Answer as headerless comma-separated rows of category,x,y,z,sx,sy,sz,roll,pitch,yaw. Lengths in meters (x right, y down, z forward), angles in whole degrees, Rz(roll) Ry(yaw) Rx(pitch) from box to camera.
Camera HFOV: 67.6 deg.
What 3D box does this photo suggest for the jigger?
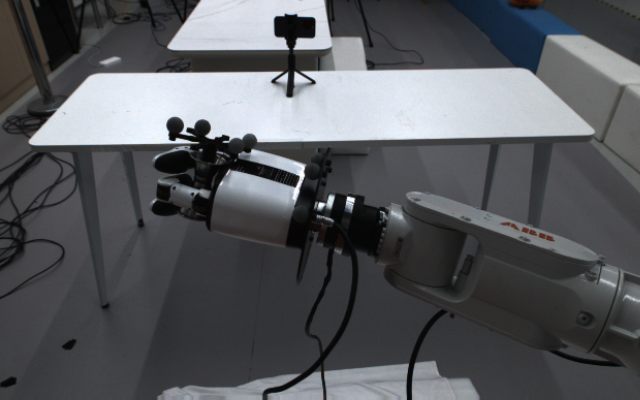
jigger,-0.132,-0.017,0.547,0.043,0.071,0.043,15,17,-4
